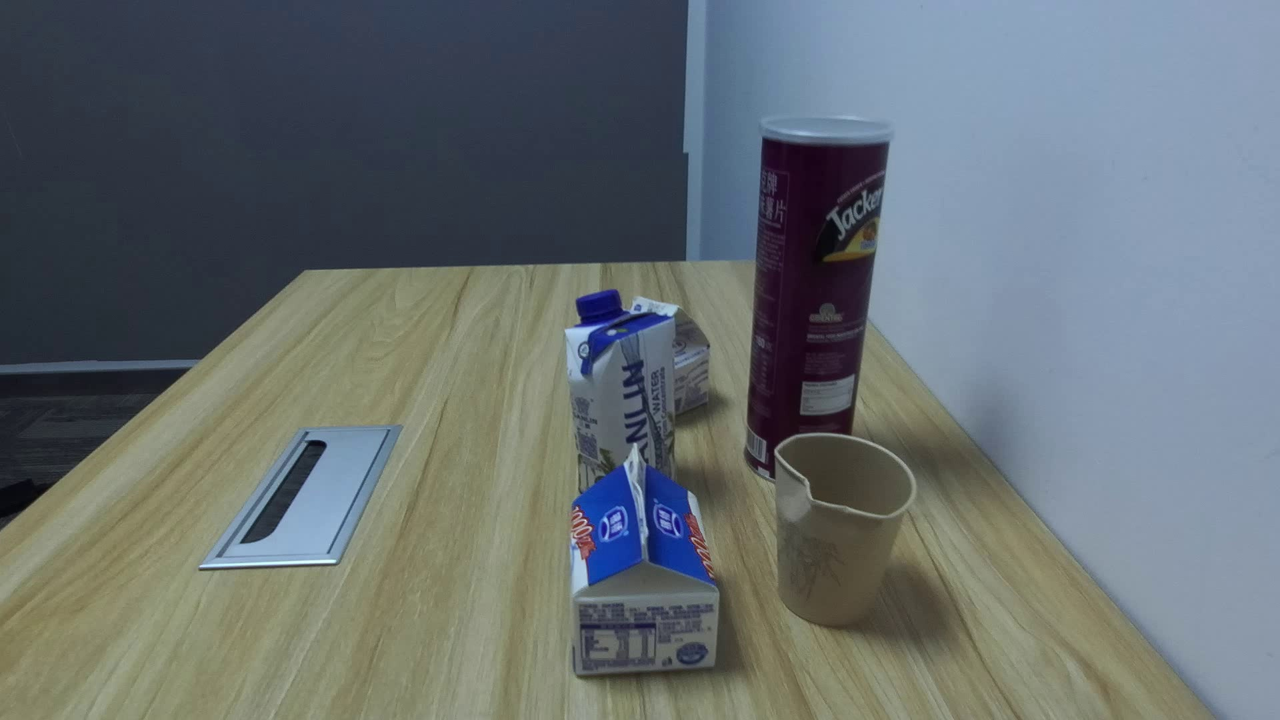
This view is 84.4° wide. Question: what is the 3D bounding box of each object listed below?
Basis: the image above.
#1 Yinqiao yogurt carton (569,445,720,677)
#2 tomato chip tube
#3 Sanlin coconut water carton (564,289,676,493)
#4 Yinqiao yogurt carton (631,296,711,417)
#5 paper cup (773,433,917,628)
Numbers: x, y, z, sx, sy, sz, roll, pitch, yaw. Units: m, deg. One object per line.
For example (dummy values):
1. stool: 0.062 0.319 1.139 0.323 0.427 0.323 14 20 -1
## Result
1. Yinqiao yogurt carton: 0.000 0.100 0.364 0.074 0.092 0.075 -2 27 -5
2. tomato chip tube: 0.113 -0.032 0.472 0.078 0.234 0.078 0 25 0
3. Sanlin coconut water carton: -0.010 0.026 0.463 0.078 0.142 0.057 -25 29 -39
4. Yinqiao yogurt carton: 0.011 -0.008 0.577 0.077 0.093 0.082 -19 32 -35
5. paper cup: 0.105 0.092 0.382 0.073 0.081 0.069 8 27 16
